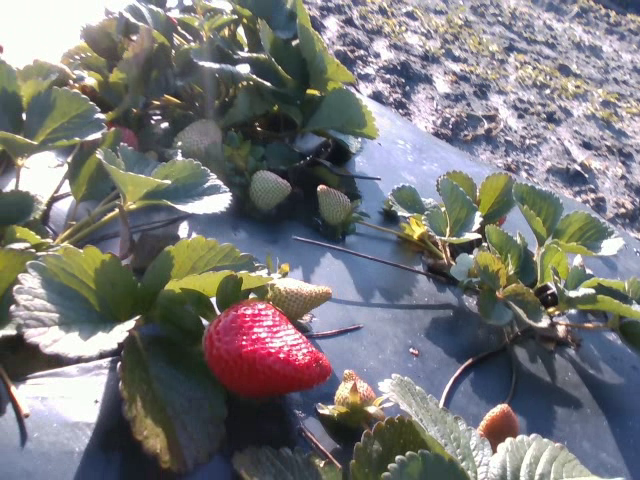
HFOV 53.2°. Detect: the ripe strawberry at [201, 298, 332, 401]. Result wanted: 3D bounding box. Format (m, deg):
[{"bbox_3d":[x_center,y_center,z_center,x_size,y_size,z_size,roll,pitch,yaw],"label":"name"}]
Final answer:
[{"bbox_3d":[-0.021,0.051,0.282,0.072,0.057,0.055,13,-19,31],"label":"ripe strawberry"}]
